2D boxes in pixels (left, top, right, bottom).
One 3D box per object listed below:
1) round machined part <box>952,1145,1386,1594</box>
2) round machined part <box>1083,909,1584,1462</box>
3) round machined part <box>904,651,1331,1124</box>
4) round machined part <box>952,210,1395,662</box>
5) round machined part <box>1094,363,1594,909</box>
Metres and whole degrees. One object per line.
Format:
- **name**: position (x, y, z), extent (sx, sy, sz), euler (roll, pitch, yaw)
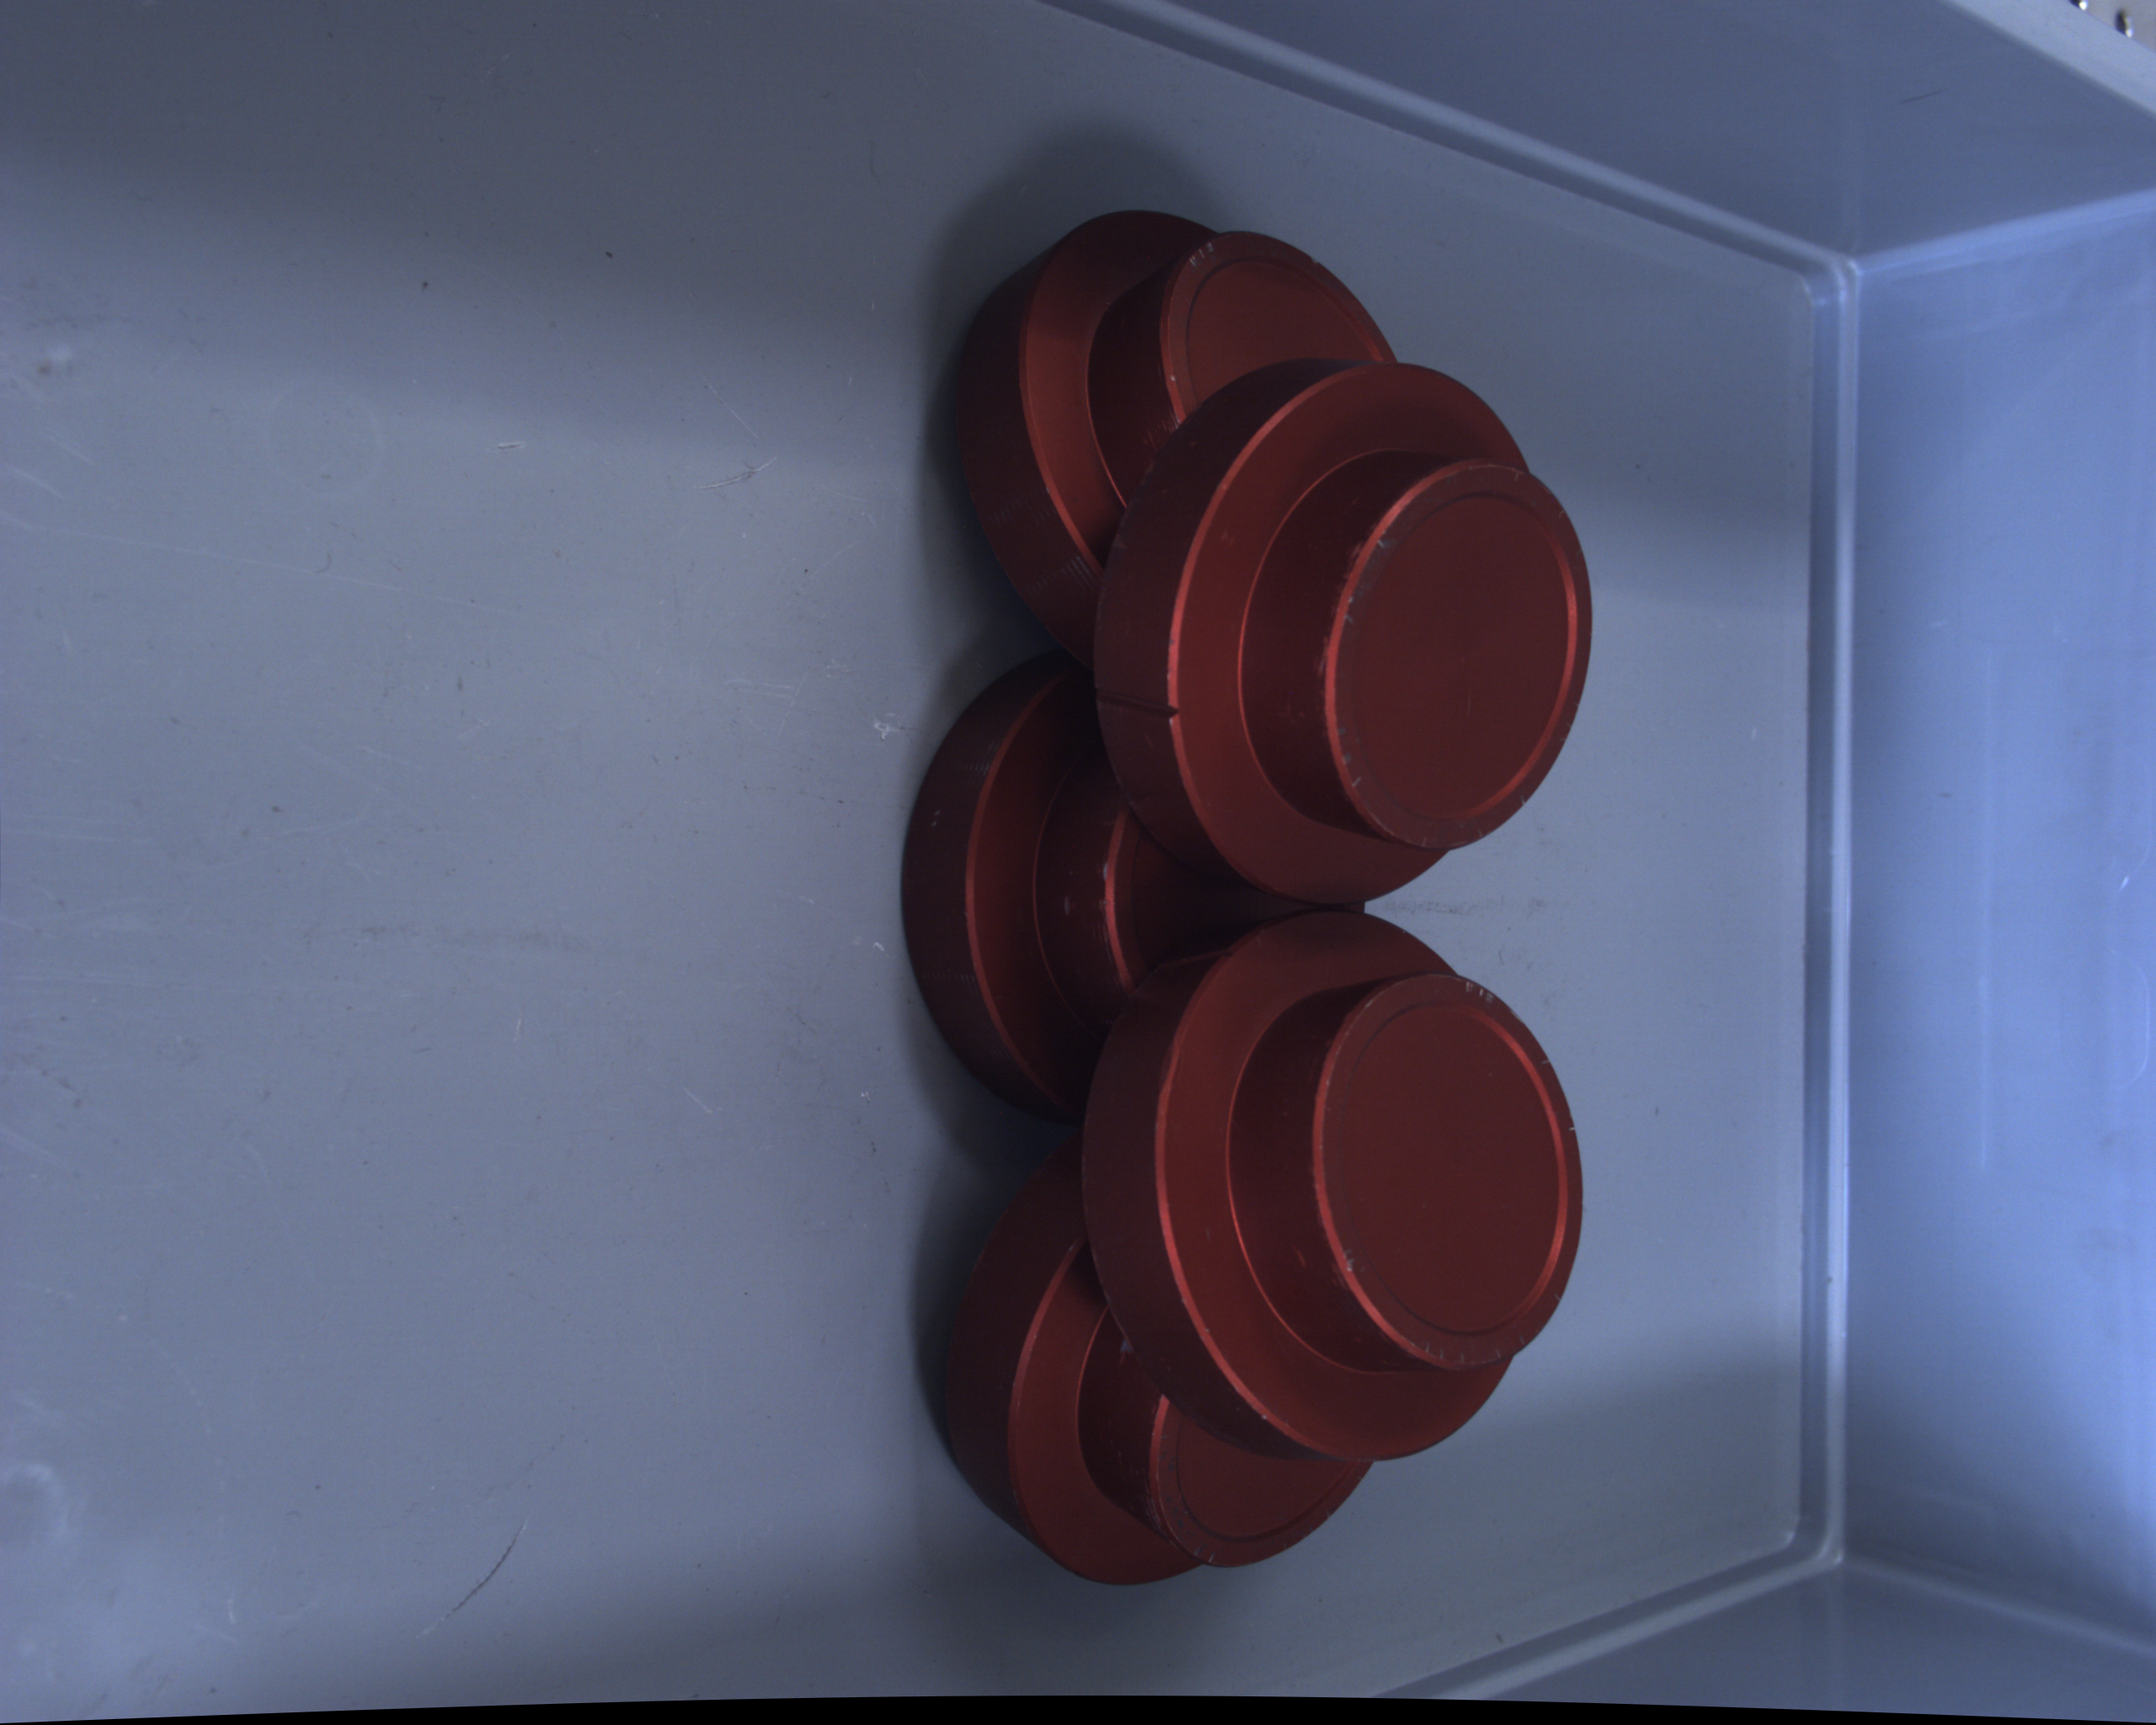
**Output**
- **round machined part**: position (0.028, 0.096, 0.399), extent (0.099, 0.042, 0.097), euler (-15, 114, -36)
- **round machined part**: position (0.052, 0.056, 0.371), extent (0.099, 0.042, 0.098), euler (11, 72, -38)
- **round machined part**: position (0.018, 0.004, 0.408), extent (0.099, 0.042, 0.097), euler (1, 88, -40)
- **round machined part**: position (0.028, -0.082, 0.402), extent (0.099, 0.042, 0.098), euler (16, 64, -35)
- **round machined part**: position (0.054, -0.039, 0.372), extent (0.099, 0.042, 0.097), euler (-13, 110, -37)
